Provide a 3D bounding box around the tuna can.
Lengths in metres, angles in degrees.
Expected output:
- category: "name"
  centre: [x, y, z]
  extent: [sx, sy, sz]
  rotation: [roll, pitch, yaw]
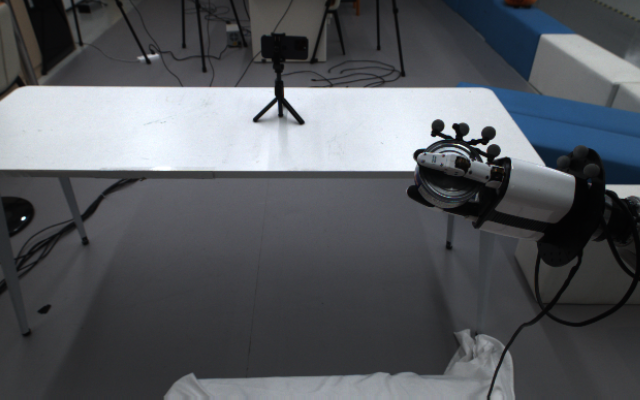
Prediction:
- category: "tuna can"
  centre: [0.170, -0.035, 0.633]
  extent: [0.085, 0.034, 0.085]
  rotation: [0, 72, 0]
